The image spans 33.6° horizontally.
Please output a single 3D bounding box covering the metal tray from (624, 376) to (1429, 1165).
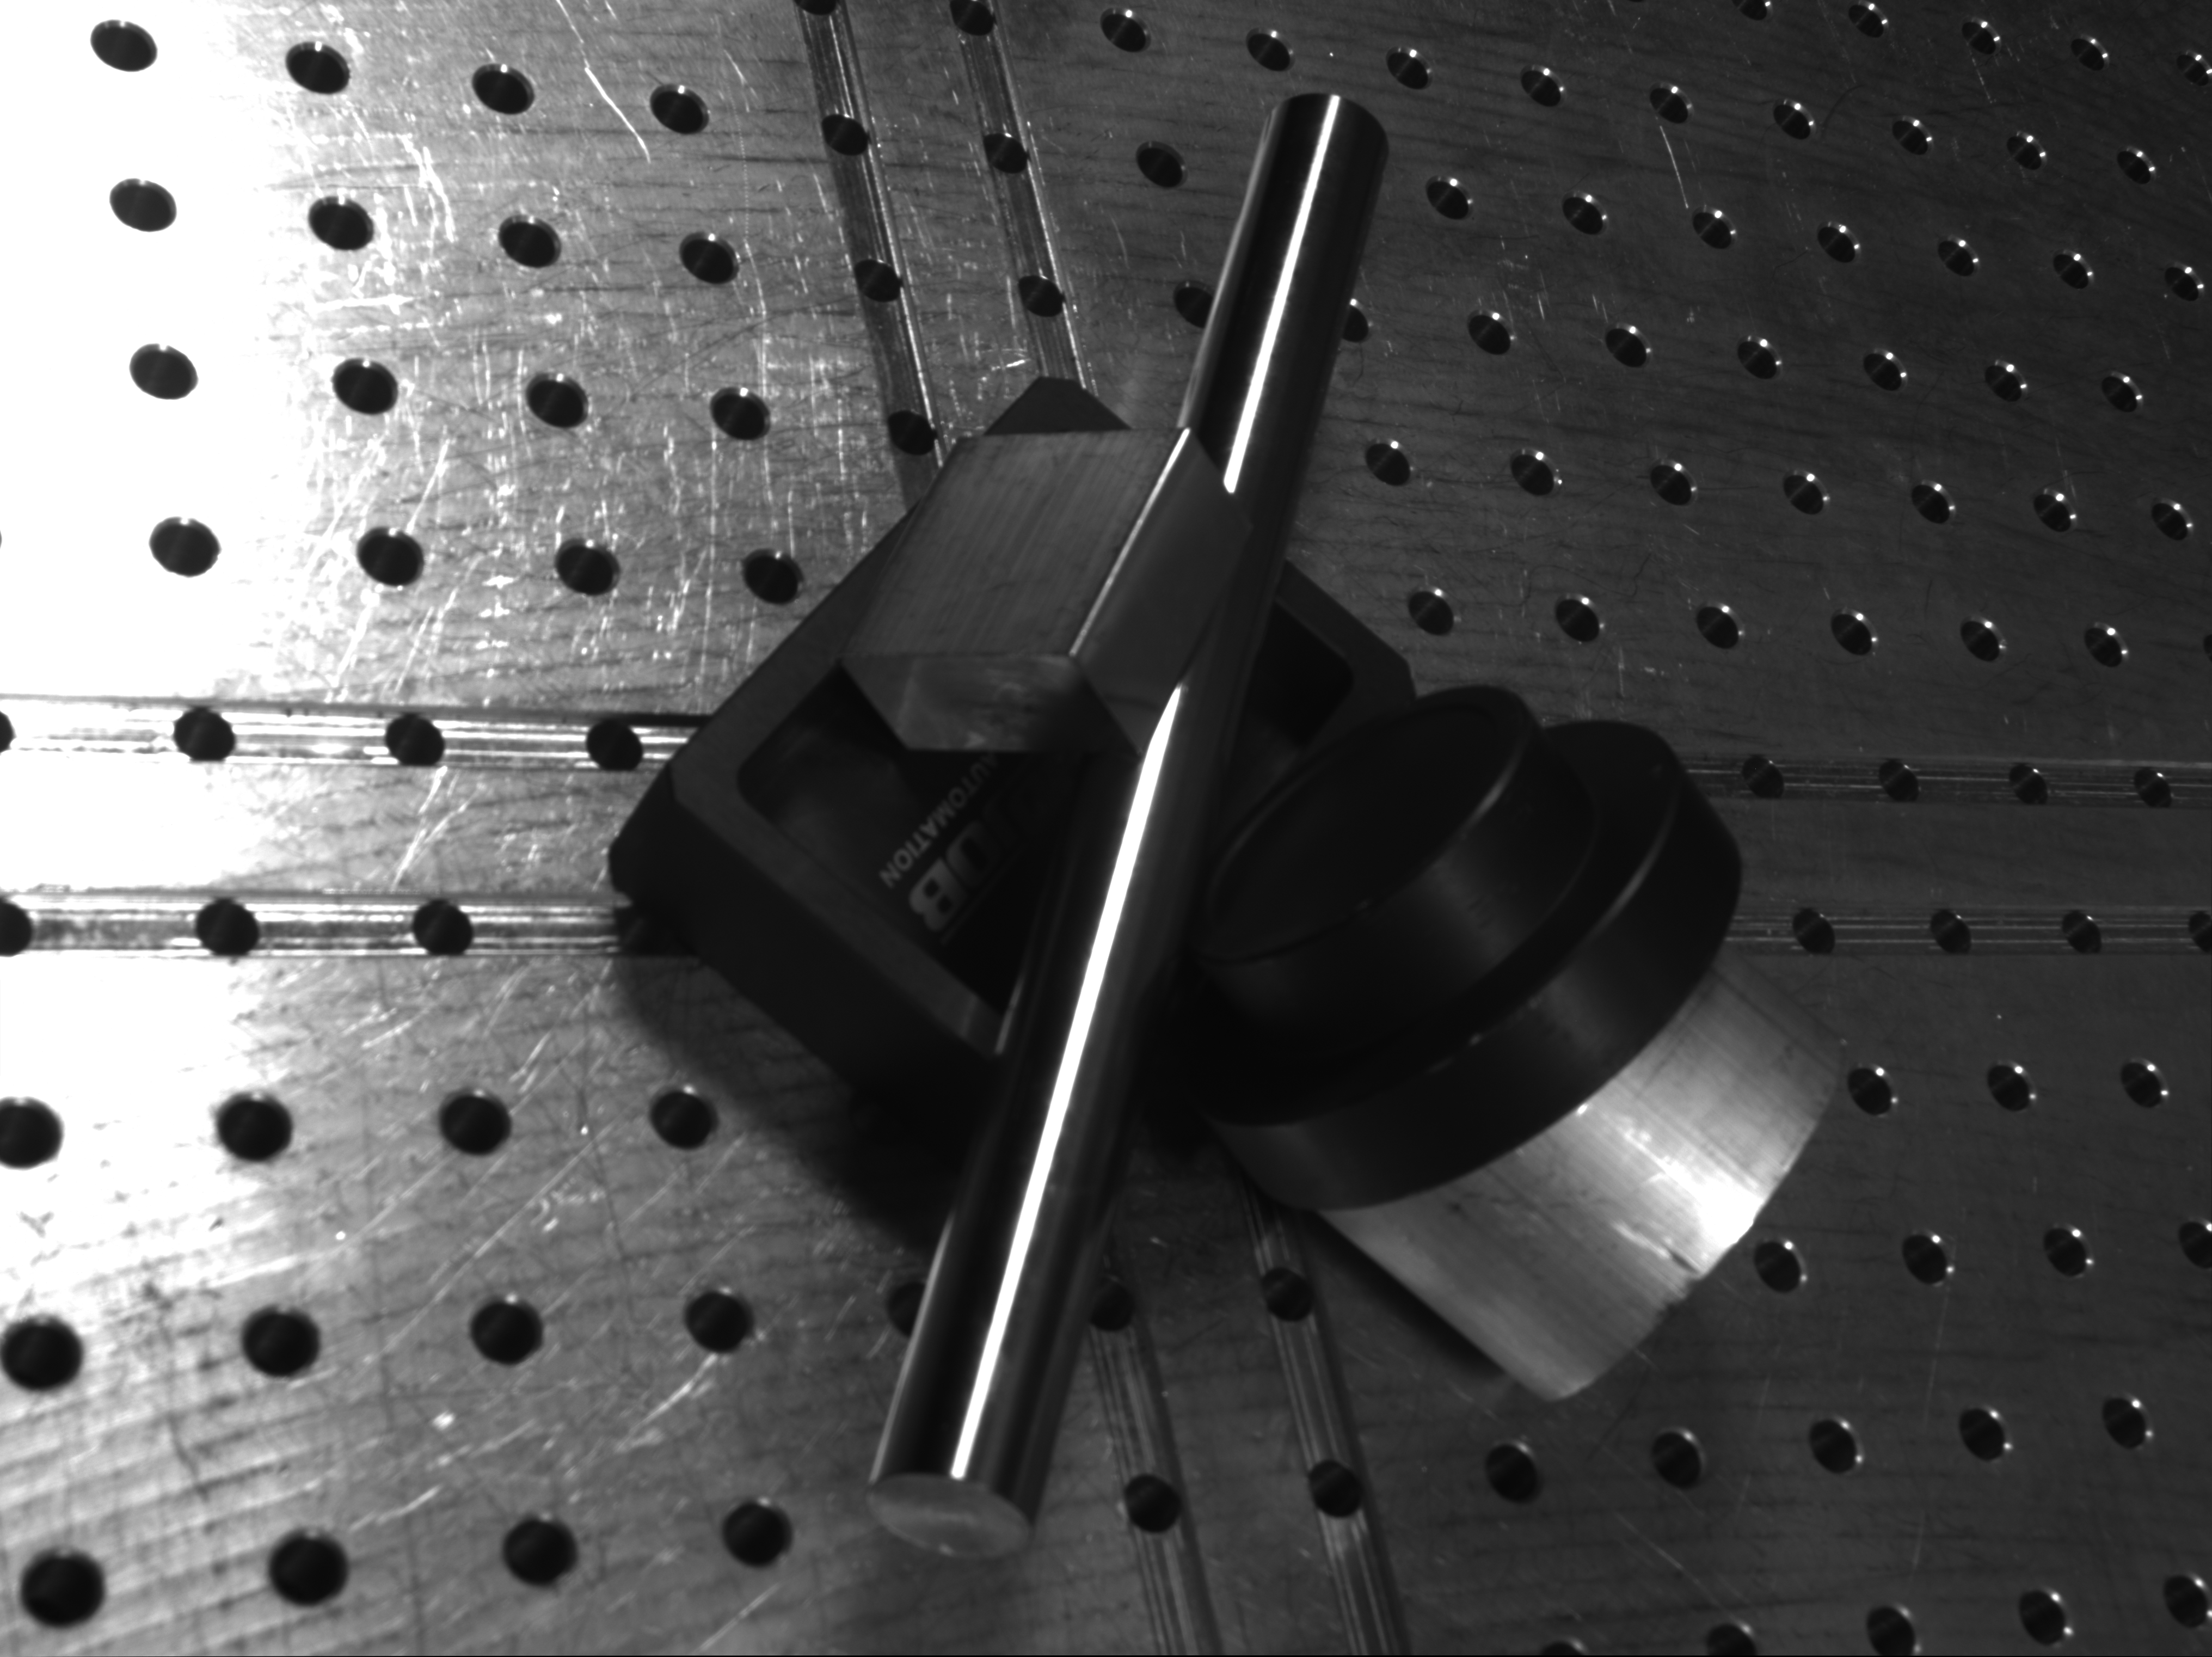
[{"bbox_3d":[-0.011,-0.011,0.640,0.090,0.030,0.130,40,51,-1],"label":"metal tray"}]

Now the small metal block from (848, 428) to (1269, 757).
[{"bbox_3d":[-0.008,-0.040,0.619,0.025,0.050,0.050,54,51,-40],"label":"small metal block"}]

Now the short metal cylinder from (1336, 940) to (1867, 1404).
[{"bbox_3d":[0.083,0.050,0.620,0.050,0.080,0.080,40,51,-1],"label":"short metal cylinder"}]

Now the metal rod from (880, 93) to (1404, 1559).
[{"bbox_3d":[0.012,-0.016,0.620,0.025,0.025,0.300,25,53,-13],"label":"metal rod"}]

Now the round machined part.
[{"bbox_3d":[0.054,0.014,0.604,0.042,0.098,0.098,52,48,-20],"label":"round machined part"}]
